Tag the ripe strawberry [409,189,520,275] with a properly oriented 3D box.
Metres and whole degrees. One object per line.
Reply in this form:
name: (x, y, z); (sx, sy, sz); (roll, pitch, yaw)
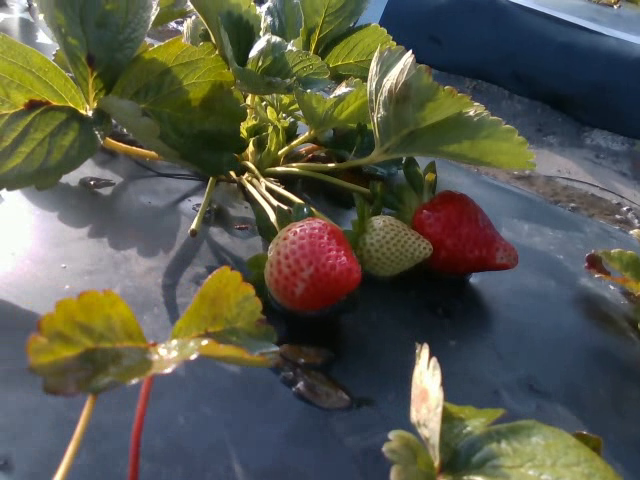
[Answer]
ripe strawberry: (0.075, -0.001, 0.316); (0.064, 0.049, 0.050); (39, -12, 25)
